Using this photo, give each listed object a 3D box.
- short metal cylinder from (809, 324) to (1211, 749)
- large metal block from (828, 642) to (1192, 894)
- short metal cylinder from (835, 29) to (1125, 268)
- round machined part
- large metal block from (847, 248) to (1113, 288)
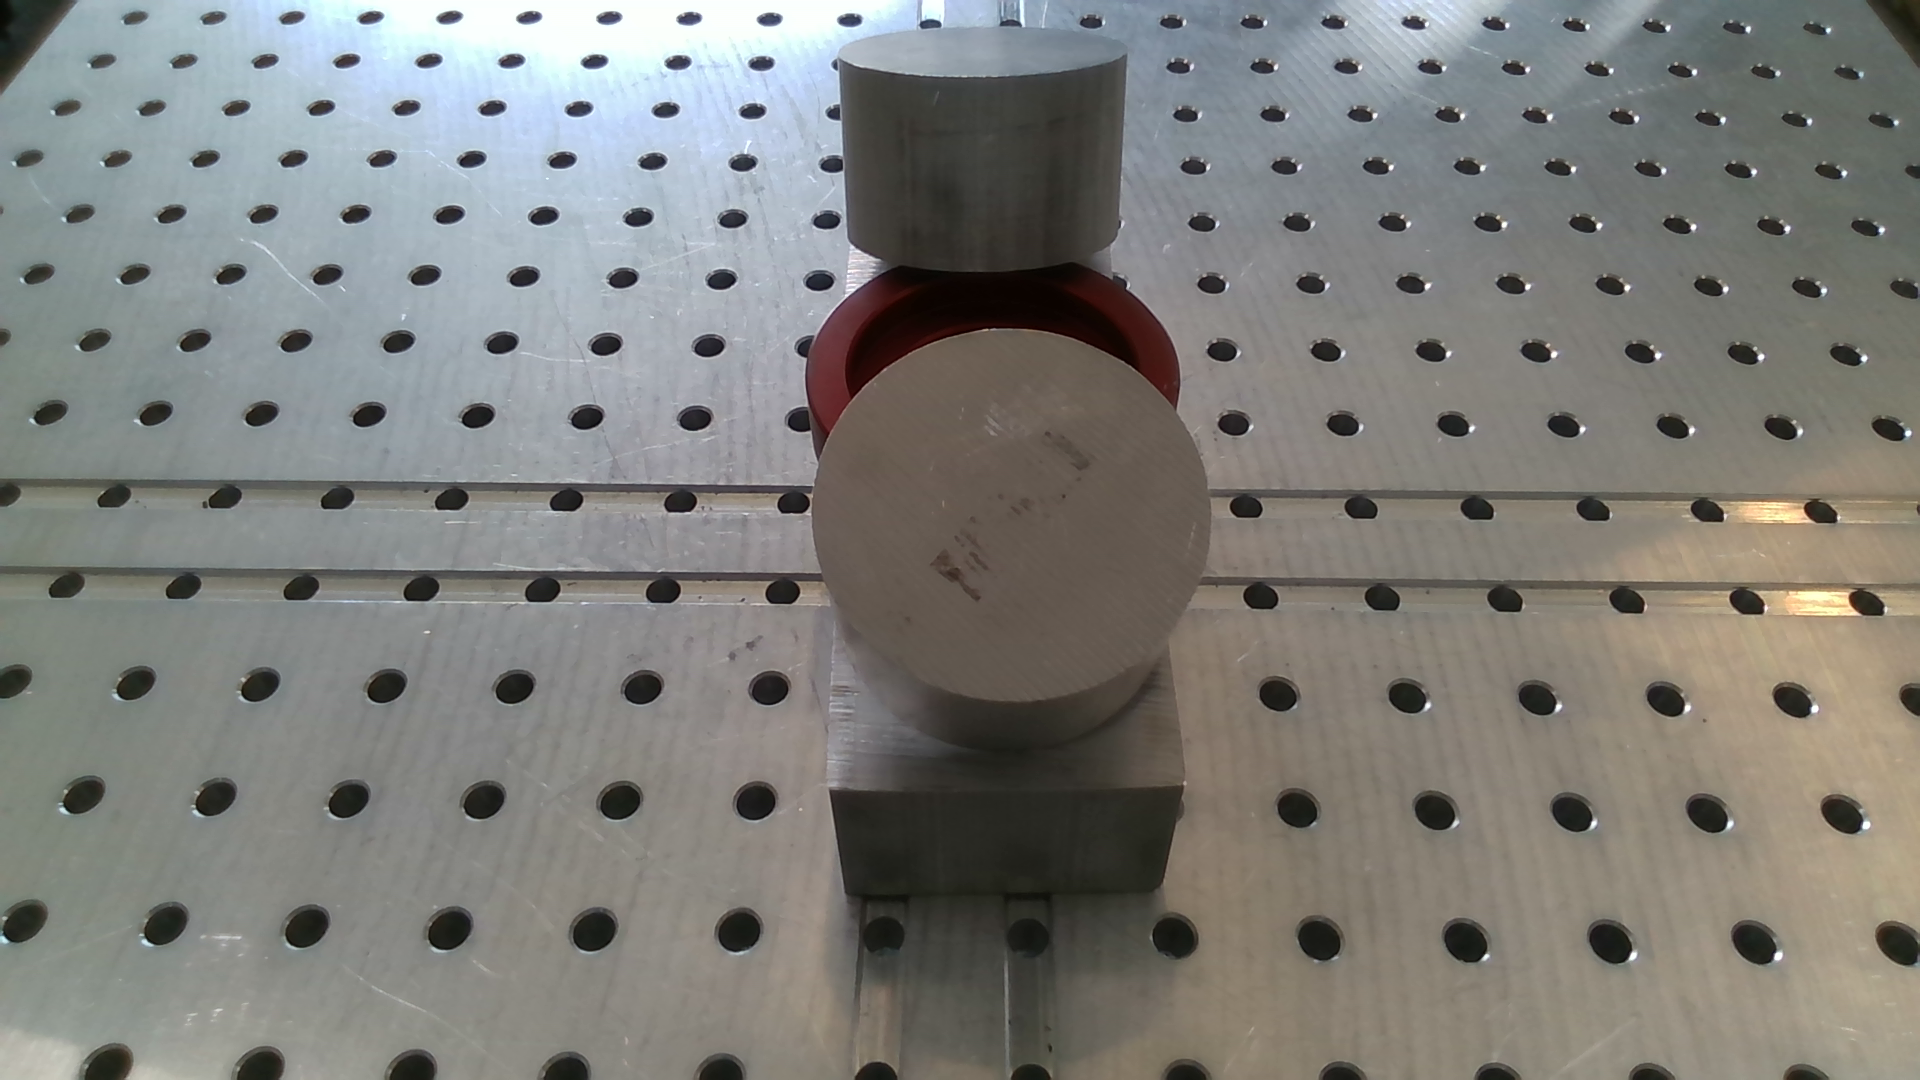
[{"bbox_3d":[0.010,0.001,0.298,0.080,0.050,0.080,0,70,0],"label":"short metal cylinder"},{"bbox_3d":[0.010,0.040,0.347,0.080,0.050,0.080,-1,50,-1],"label":"large metal block"},{"bbox_3d":[0.006,-0.115,0.394,0.080,0.050,0.080,-1,29,1],"label":"short metal cylinder"},{"bbox_3d":[0.008,-0.033,0.375,0.098,0.042,0.098,0,50,0],"label":"round machined part"},{"bbox_3d":[0.006,-0.074,0.442,0.080,0.050,0.080,0,50,0],"label":"large metal block"}]
